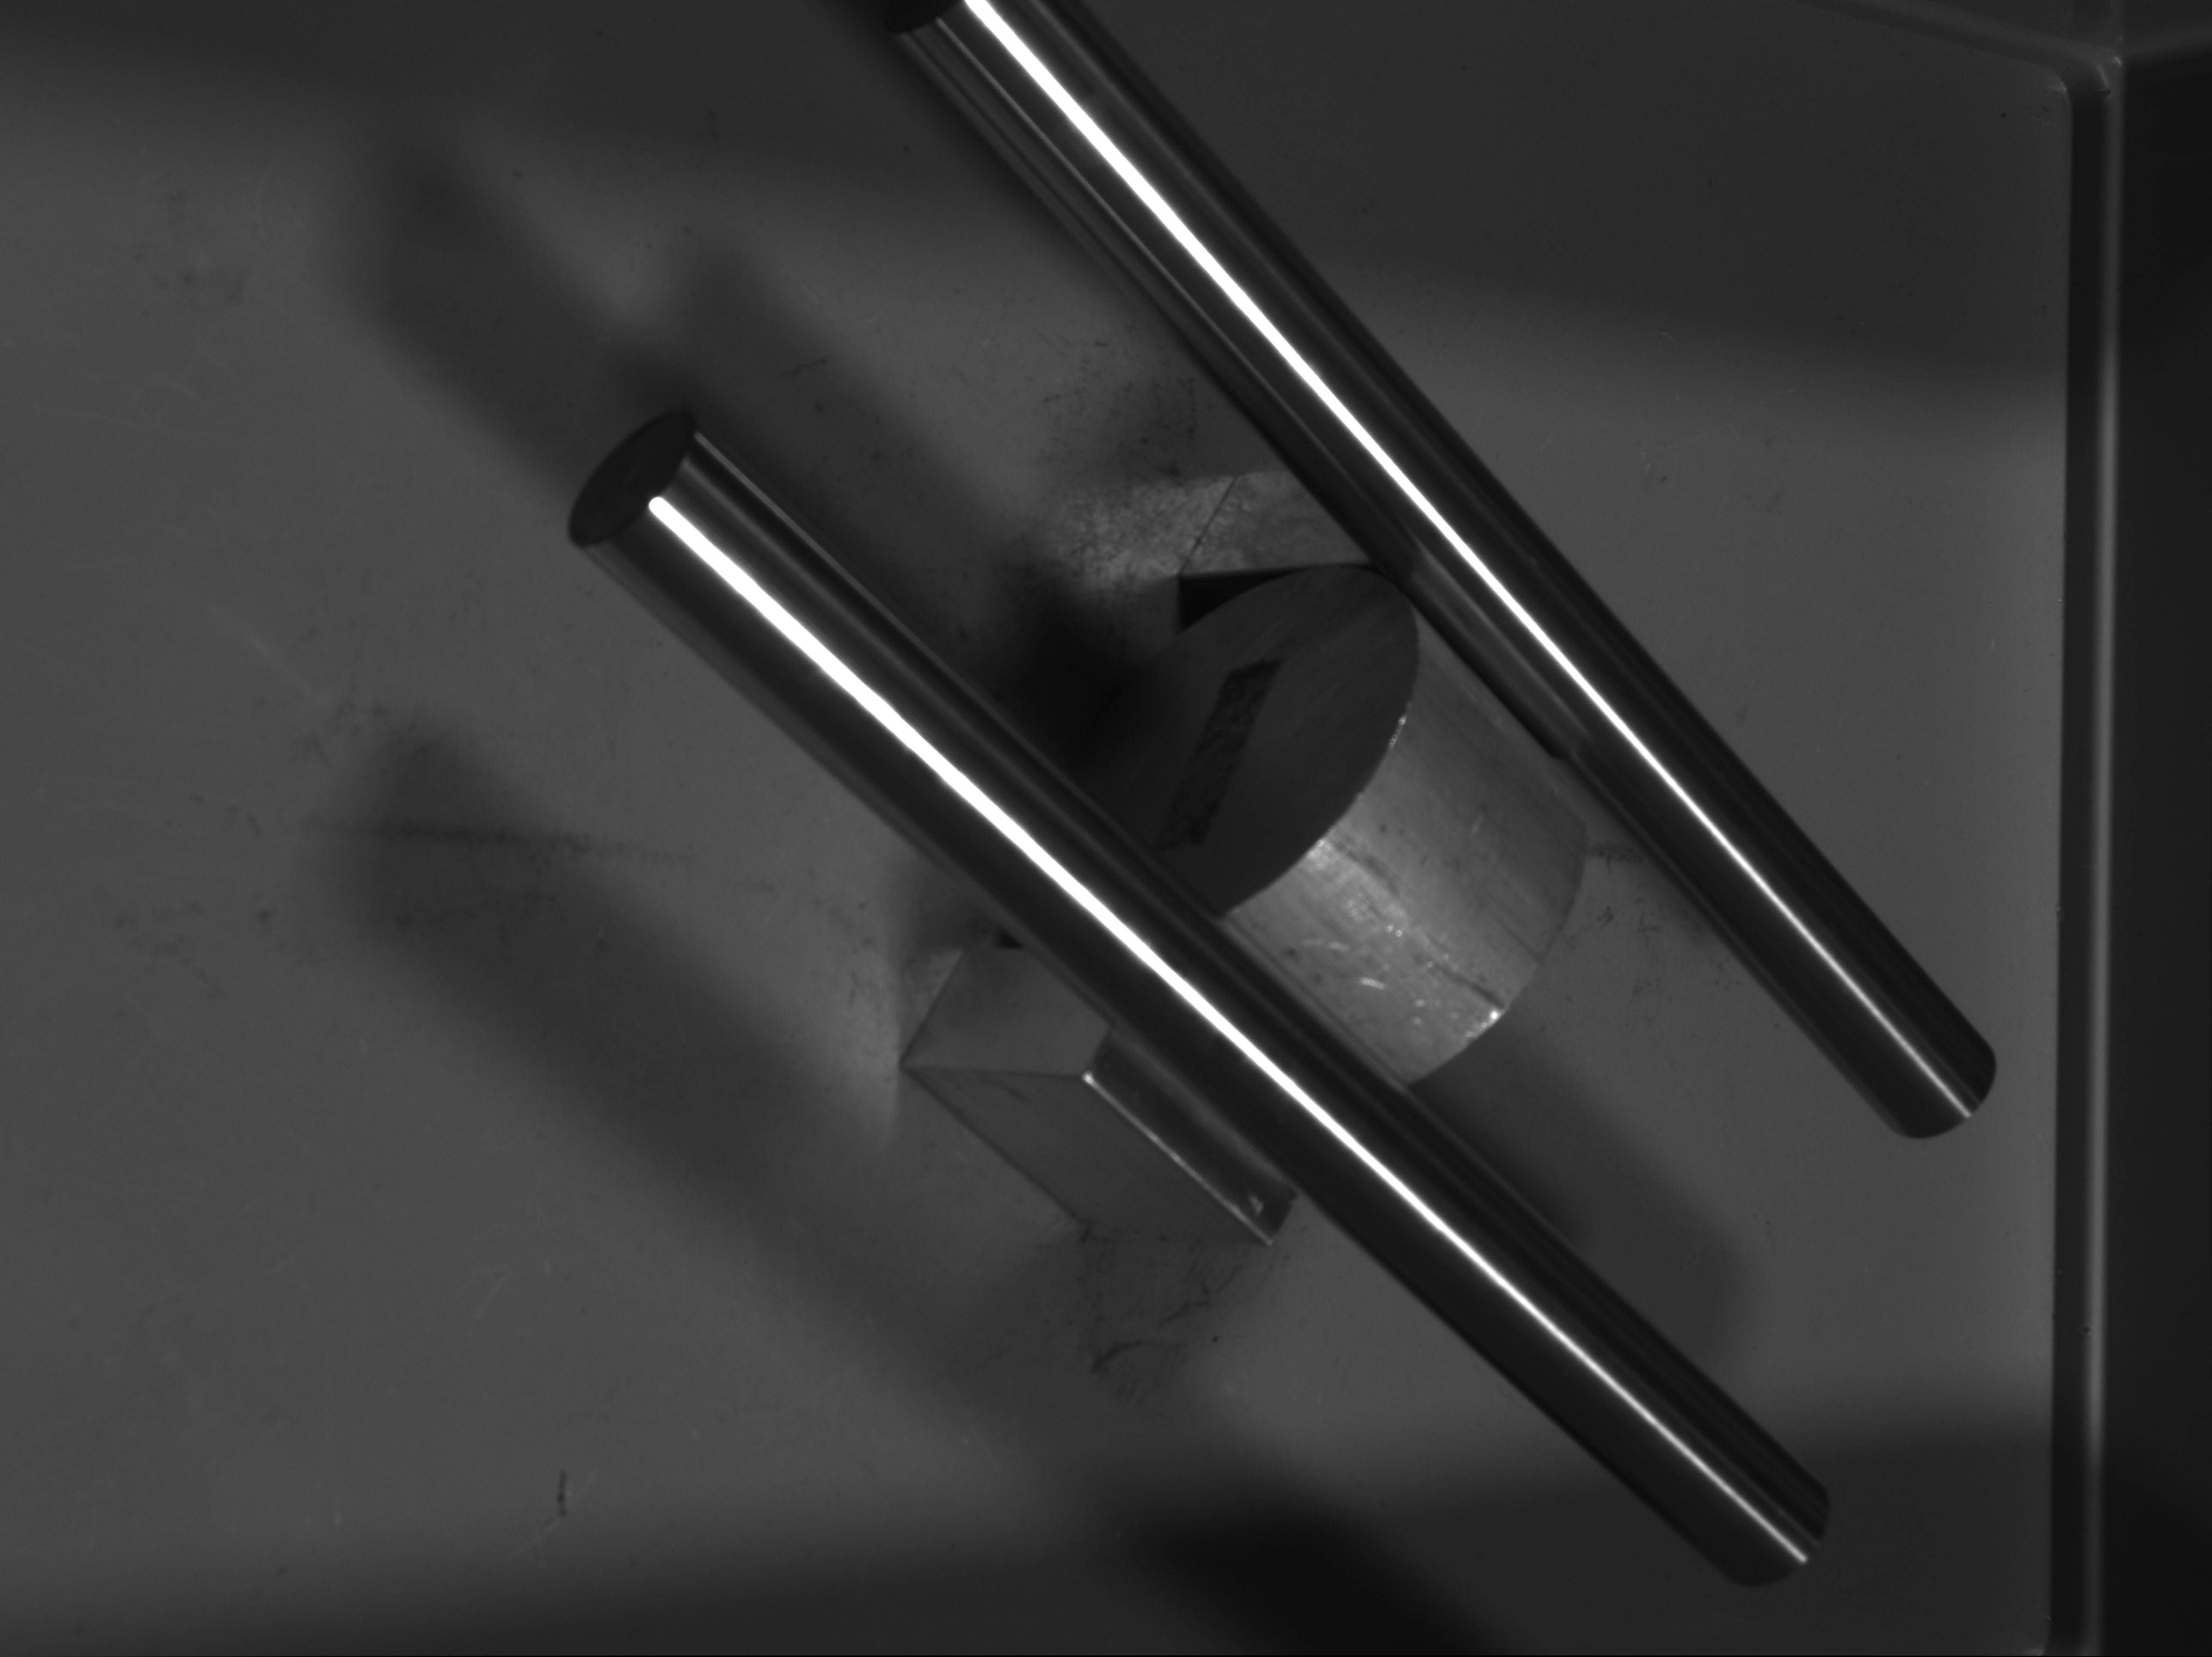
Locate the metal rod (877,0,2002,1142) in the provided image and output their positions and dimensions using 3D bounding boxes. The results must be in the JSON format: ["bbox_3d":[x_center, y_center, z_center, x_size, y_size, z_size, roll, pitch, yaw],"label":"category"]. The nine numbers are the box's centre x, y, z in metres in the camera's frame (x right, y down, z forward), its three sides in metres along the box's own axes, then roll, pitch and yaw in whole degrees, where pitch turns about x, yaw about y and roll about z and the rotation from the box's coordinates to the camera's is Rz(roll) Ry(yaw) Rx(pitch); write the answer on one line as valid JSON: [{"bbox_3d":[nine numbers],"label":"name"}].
[{"bbox_3d":[0.068,-0.039,0.628,0.301,0.025,0.025,44,64,-31],"label":"metal rod"}]

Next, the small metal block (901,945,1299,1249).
[{"bbox_3d":[0.002,0.045,0.621,0.050,0.050,0.025,44,63,-31],"label":"small metal block"}]

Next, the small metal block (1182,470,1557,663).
[{"bbox_3d":[0.051,-0.040,0.661,0.050,0.050,0.025,44,63,-31],"label":"small metal block"}]

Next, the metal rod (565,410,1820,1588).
[{"bbox_3d":[0.026,0.039,0.595,0.301,0.025,0.025,43,64,-31],"label":"metal rod"}]

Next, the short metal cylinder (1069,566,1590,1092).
[{"bbox_3d":[0.036,0.002,0.630,0.050,0.080,0.080,44,64,-31],"label":"short metal cylinder"}]
